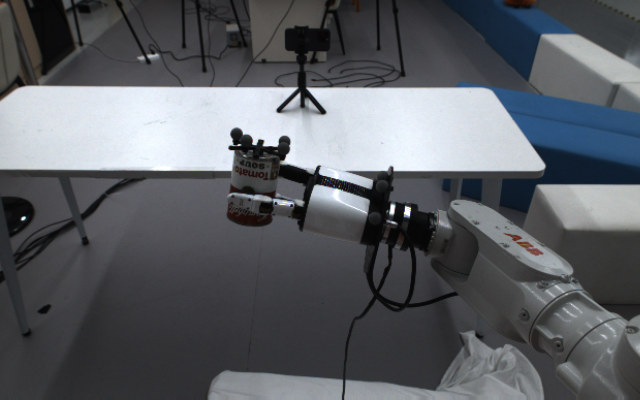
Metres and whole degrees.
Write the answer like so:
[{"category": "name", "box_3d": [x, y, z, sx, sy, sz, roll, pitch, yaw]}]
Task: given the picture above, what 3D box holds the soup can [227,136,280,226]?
[{"category": "soup can", "box_3d": [-0.095, -0.021, 0.697, 0.067, 0.101, 0.067, 9, 20, -3]}]
